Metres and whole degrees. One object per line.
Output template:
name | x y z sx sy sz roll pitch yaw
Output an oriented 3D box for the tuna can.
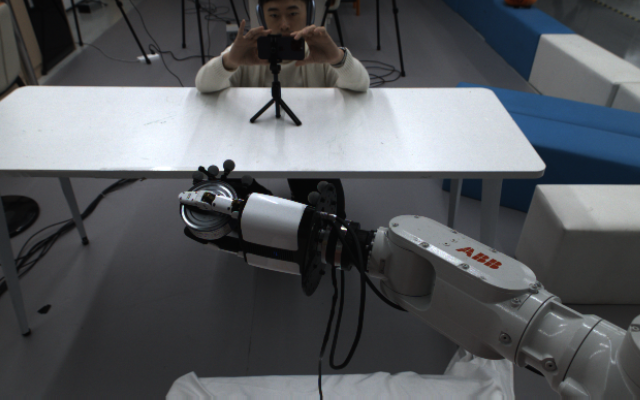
tuna can | -0.160 0.014 0.713 0.085 0.034 0.085 -3 57 5
